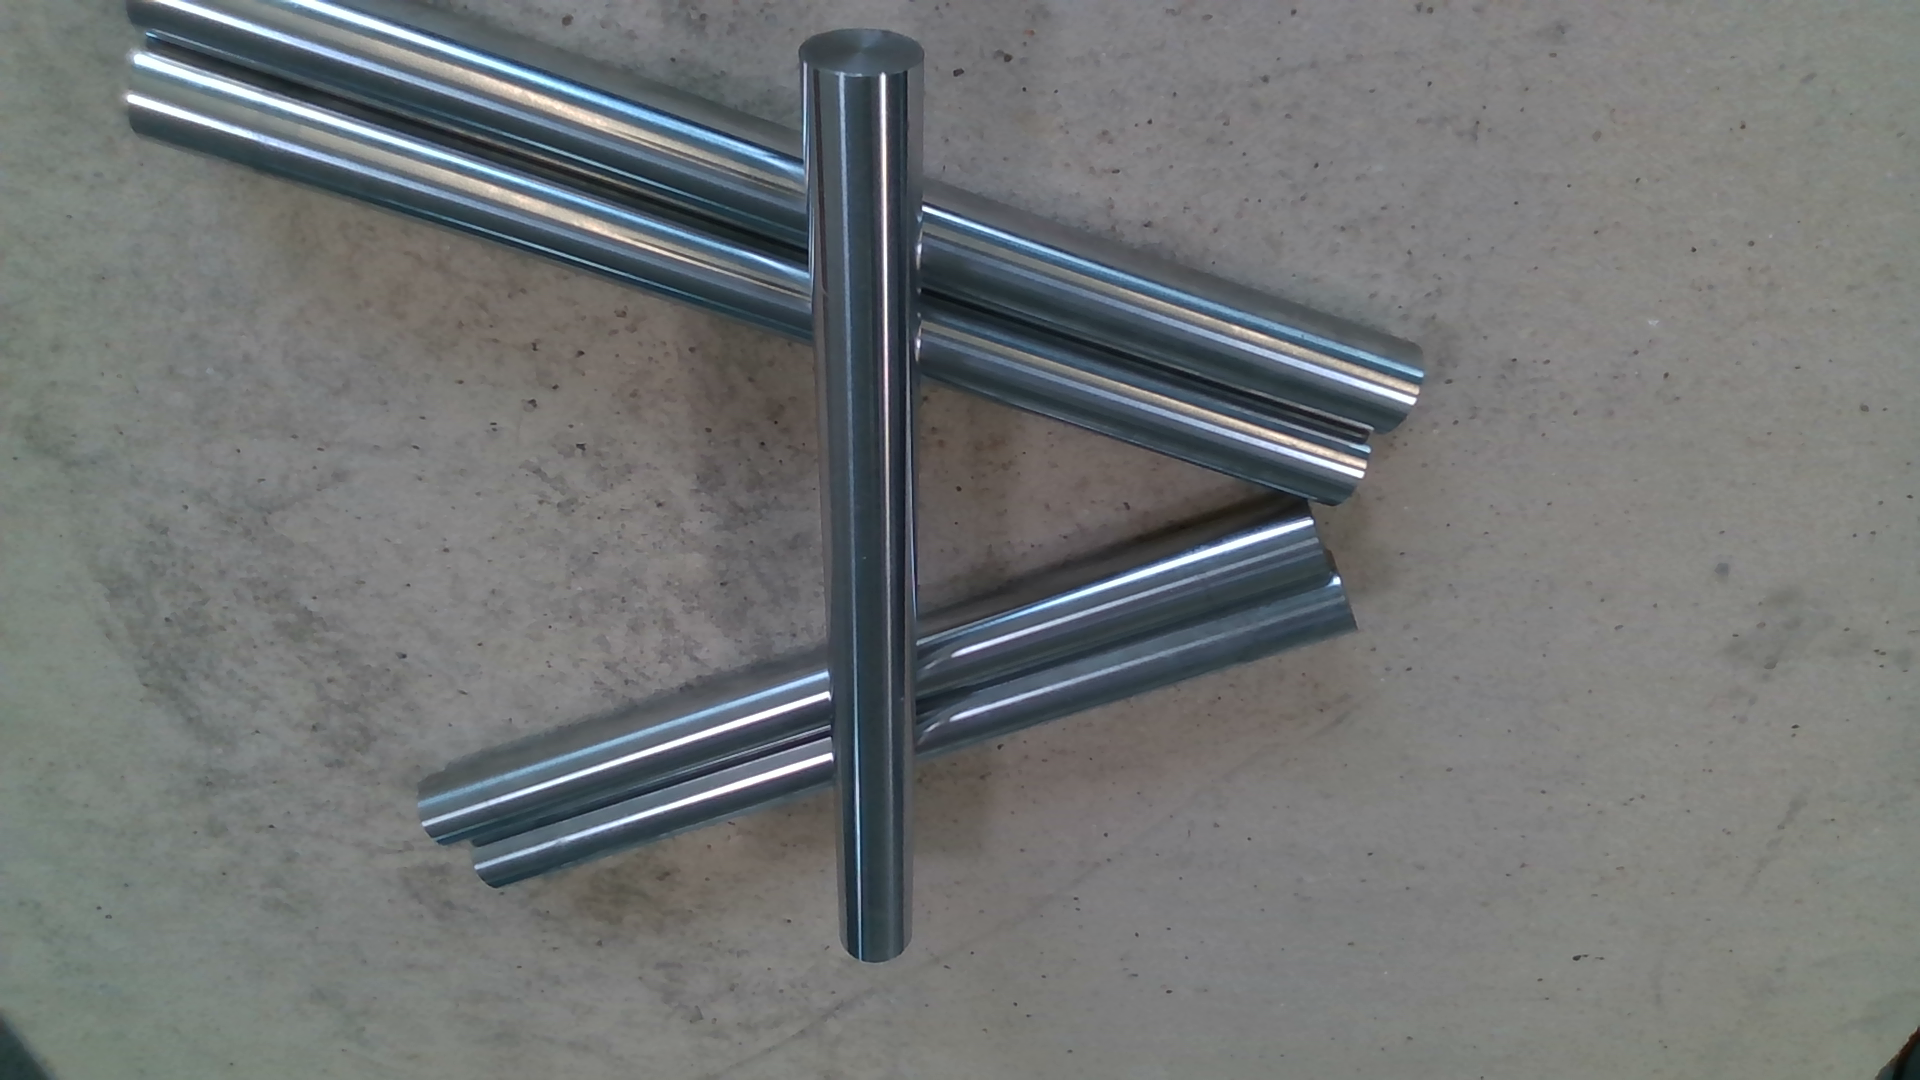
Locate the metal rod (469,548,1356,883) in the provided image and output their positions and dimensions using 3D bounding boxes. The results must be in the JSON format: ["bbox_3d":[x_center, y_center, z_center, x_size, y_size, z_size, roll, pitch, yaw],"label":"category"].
[{"bbox_3d":[-0.026,0.061,0.441,0.300,0.025,0.025,-19,128,15],"label":"metal rod"}]

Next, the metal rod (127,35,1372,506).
[{"bbox_3d":[-0.037,-0.061,0.337,0.300,0.025,0.025,16,128,-13],"label":"metal rod"}]

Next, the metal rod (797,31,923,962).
[{"bbox_3d":[-0.024,0.018,0.371,0.025,0.025,0.301,1,130,-1],"label":"metal rod"}]

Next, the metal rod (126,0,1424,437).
[{"bbox_3d":[-0.028,-0.079,0.322,0.300,0.025,0.025,16,128,-13],"label":"metal rod"}]

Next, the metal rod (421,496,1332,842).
[{"bbox_3d":[-0.036,0.044,0.427,0.300,0.025,0.025,-19,128,15],"label":"metal rod"}]
